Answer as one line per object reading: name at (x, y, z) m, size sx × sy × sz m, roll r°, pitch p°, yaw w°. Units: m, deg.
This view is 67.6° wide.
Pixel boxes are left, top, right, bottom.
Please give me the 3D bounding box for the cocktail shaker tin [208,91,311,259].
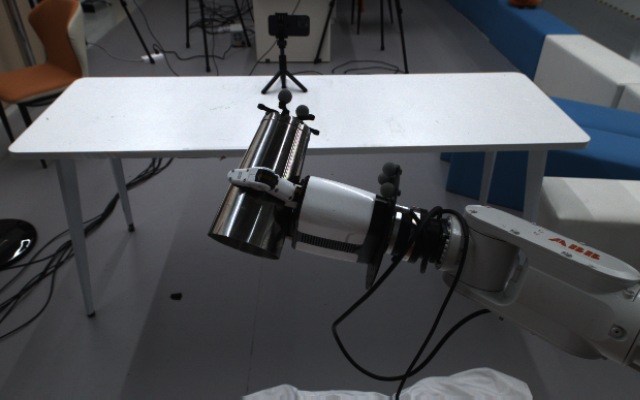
cocktail shaker tin at (-0.069, -0.020, 0.610) m, size 0.093 × 0.093 × 0.170 m, roll 14°, pitch 74°, yaw 17°
